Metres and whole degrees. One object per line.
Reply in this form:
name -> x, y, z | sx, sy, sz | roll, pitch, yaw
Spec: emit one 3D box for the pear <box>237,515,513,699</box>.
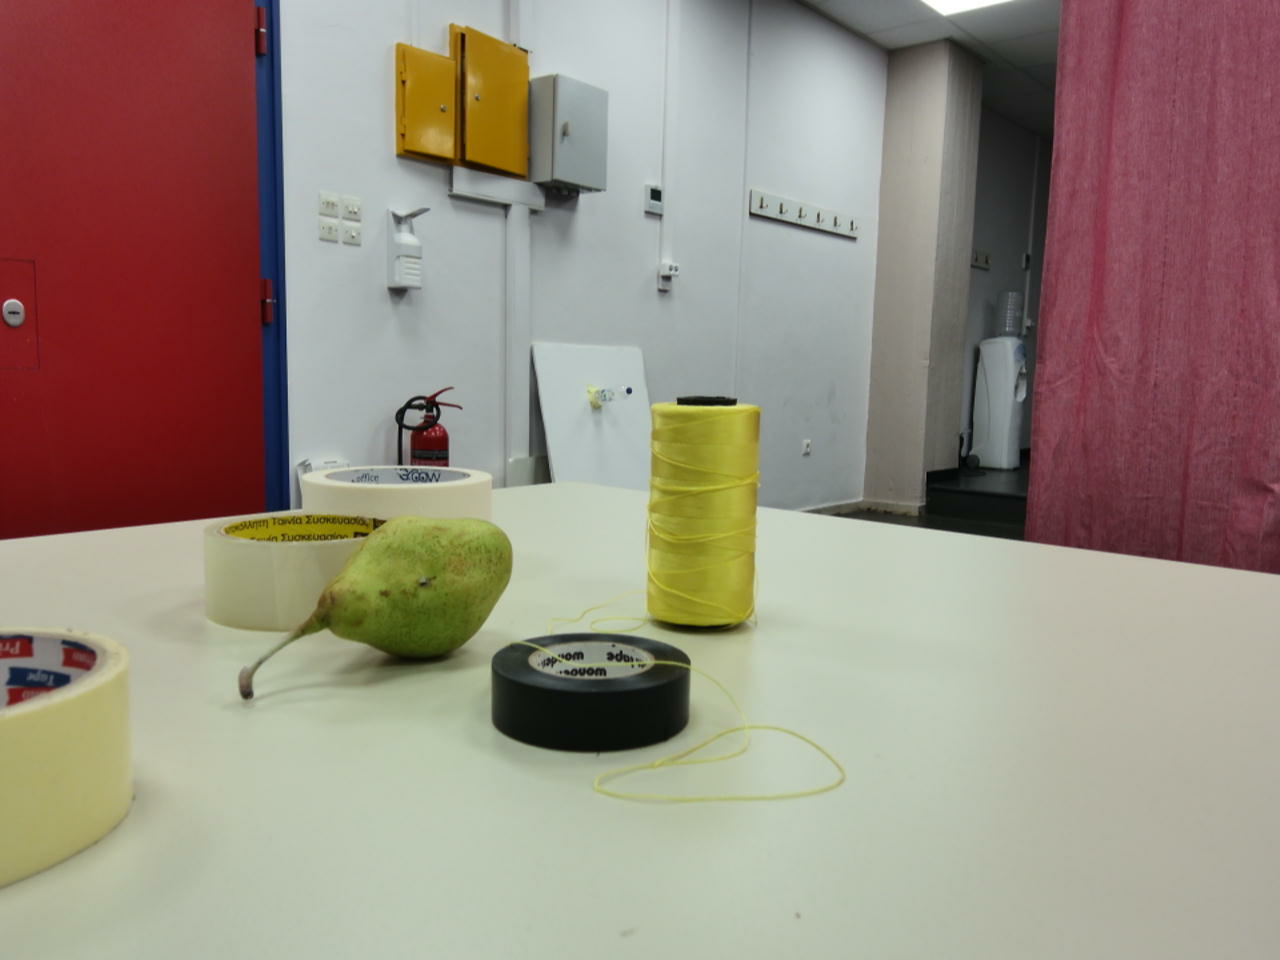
pear -> -0.102, 0.043, 0.385 | 0.111, 0.056, 0.056 | -3, 5, -35
